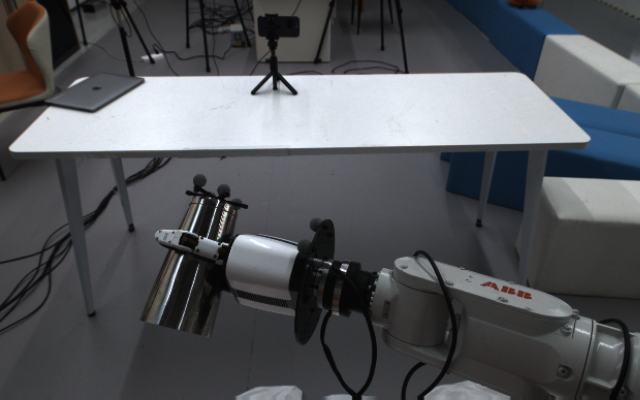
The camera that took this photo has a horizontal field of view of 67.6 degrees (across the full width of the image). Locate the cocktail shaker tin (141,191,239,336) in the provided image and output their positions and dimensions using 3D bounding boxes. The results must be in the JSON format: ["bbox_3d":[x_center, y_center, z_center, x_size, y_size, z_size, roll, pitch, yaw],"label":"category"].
[{"bbox_3d":[-0.163,0.086,0.638,0.093,0.093,0.170,10,71,11],"label":"cocktail shaker tin"}]
